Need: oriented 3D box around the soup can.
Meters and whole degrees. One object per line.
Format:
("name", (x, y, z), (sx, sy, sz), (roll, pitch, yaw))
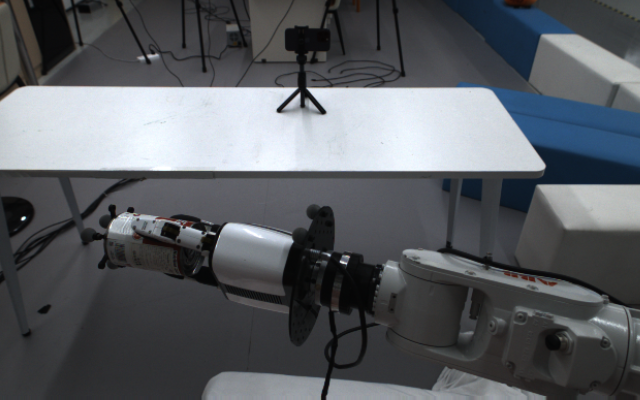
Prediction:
("soup can", (-0.197, 0.055, 0.590), (0.101, 0.067, 0.067), (7, 35, 10))
